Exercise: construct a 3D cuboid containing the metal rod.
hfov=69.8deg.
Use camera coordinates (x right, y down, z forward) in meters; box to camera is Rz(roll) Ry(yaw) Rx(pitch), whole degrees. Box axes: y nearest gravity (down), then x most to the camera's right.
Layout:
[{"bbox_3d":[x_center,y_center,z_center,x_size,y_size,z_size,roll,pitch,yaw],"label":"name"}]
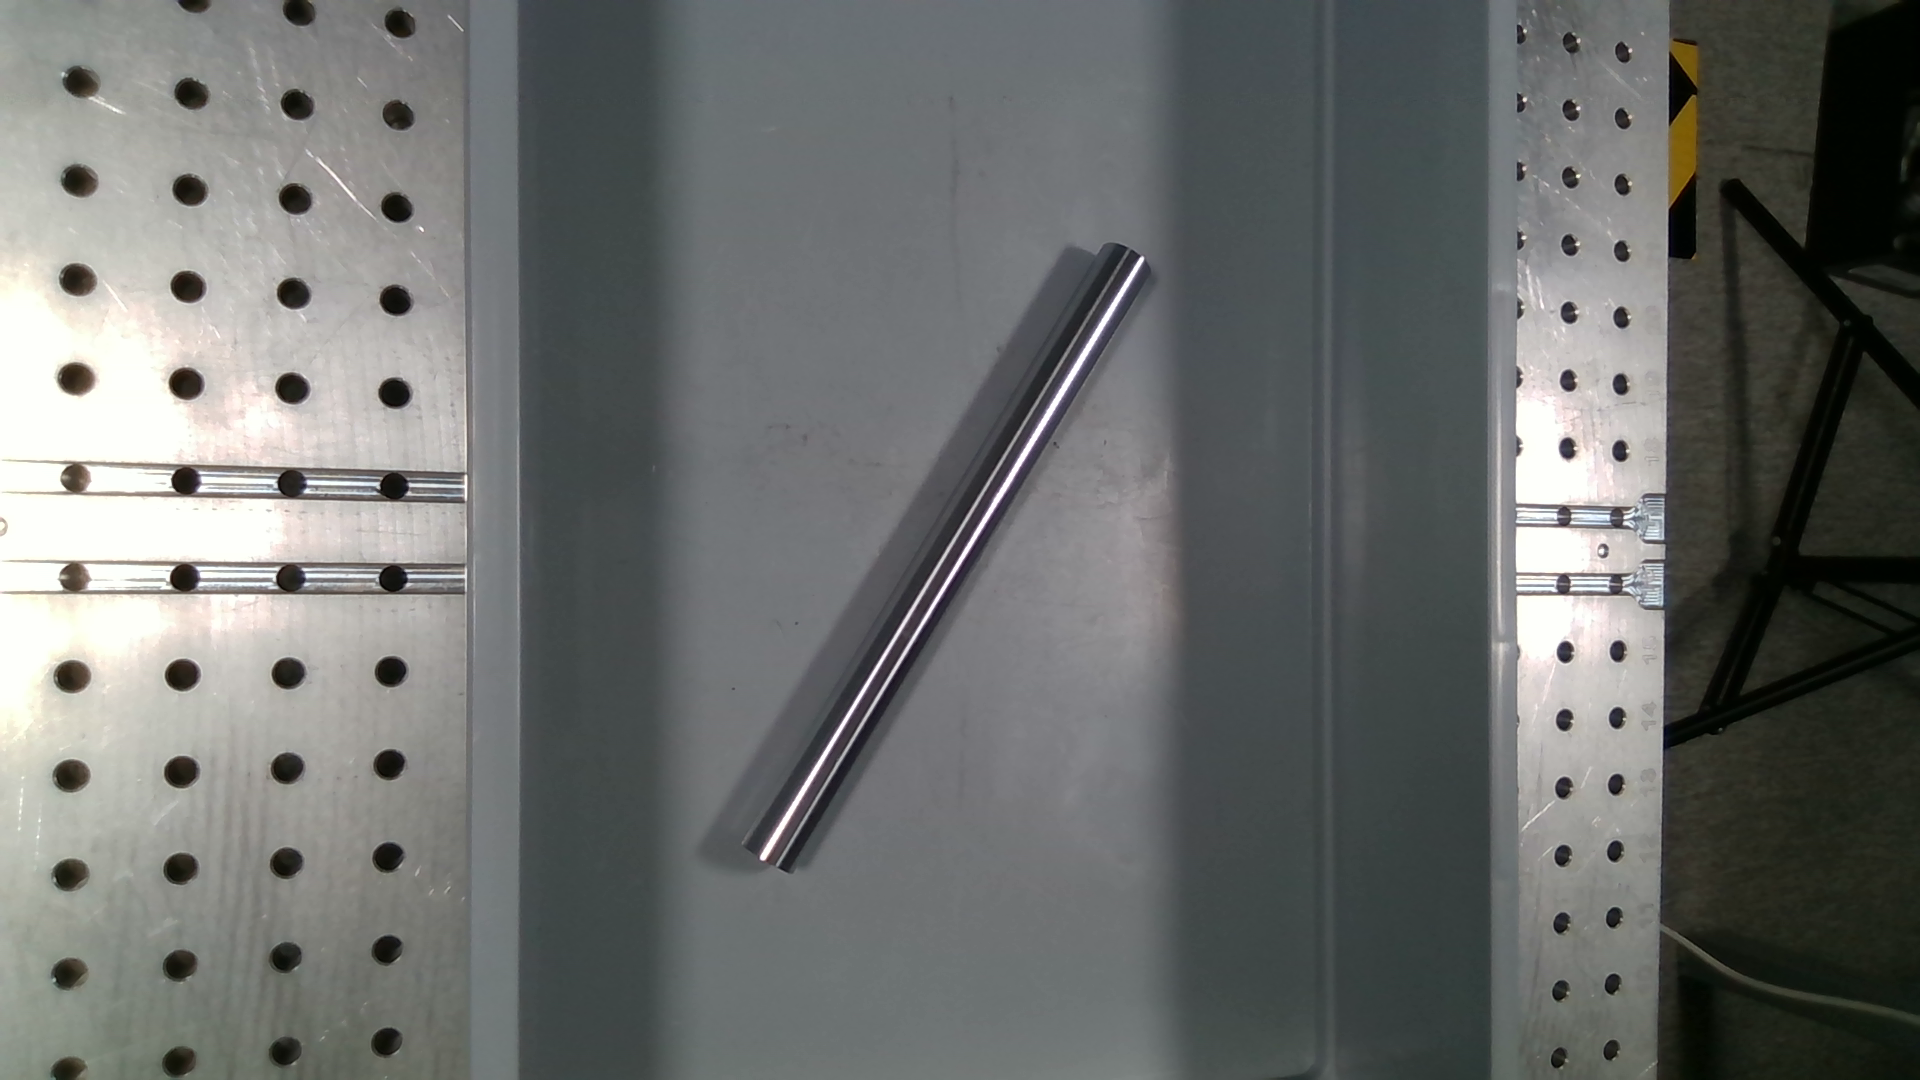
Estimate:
[{"bbox_3d":[-0.002,0.002,0.583,0.025,0.025,0.300,34,79,-17],"label":"metal rod"}]
